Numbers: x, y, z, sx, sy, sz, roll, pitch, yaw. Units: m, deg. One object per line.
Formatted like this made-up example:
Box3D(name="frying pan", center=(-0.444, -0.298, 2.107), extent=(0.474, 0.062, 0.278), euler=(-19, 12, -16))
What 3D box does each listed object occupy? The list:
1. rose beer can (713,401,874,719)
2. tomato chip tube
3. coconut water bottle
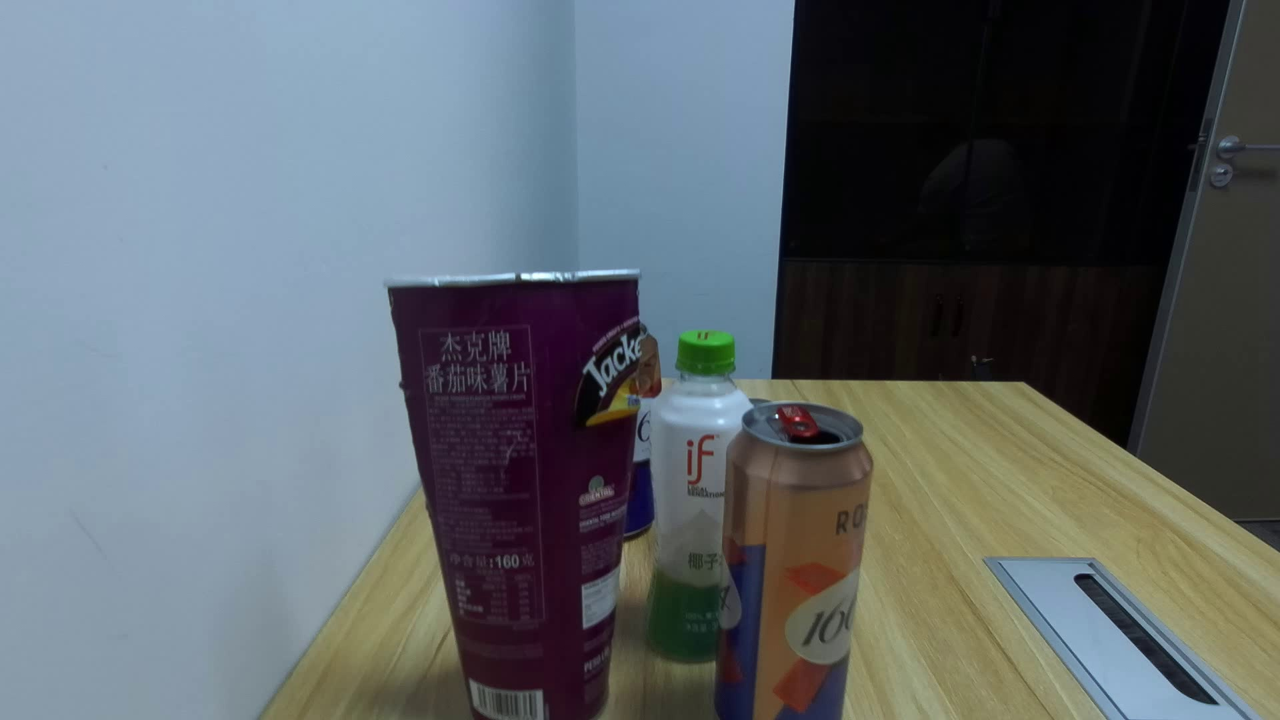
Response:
Box3D(name="rose beer can", center=(0.074, 0.109, 0.348), extent=(0.068, 0.169, 0.068), euler=(2, 17, 0))
Box3D(name="tomato chip tube", center=(-0.051, 0.073, 0.350), extent=(0.090, 0.236, 0.078), euler=(6, 18, 26))
Box3D(name="coconut water bottle", center=(0.036, 0.077, 0.409), extent=(0.063, 0.188, 0.063), euler=(1, 17, 0))
